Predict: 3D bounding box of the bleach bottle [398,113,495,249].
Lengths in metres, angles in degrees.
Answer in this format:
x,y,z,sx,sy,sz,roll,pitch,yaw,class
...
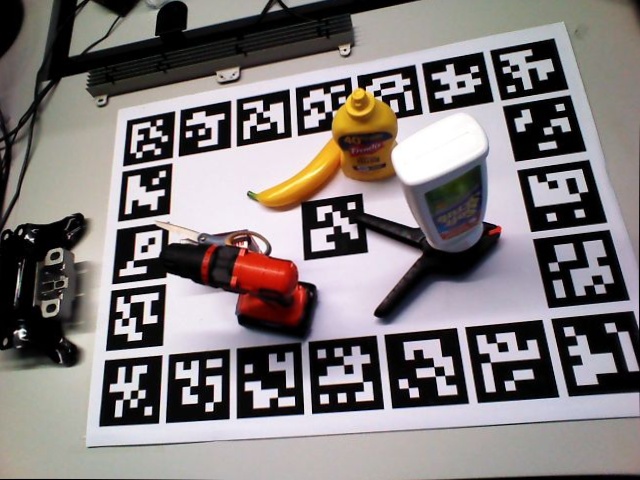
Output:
x,y,z,sx,sy,sz,roll,pitch,yaw,class
0.170,-0.049,0.638,0.103,0.250,0.067,-27,61,9,bleach bottle

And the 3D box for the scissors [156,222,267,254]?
x,y,z,sx,sy,sz,roll,pitch,yaw,class
-0.176,-0.003,0.734,0.203,0.016,0.087,18,79,14,scissors

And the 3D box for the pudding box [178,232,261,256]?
x,y,z,sx,sy,sz,roll,pitch,yaw,class
-0.154,0.025,0.789,0.114,0.090,0.038,-3,62,11,pudding box

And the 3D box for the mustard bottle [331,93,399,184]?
x,y,z,sx,sy,sz,roll,pitch,yaw,class
0.067,-0.148,0.752,0.096,0.191,0.058,7,70,14,mustard bottle

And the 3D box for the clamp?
x,y,z,sx,sy,sz,roll,pitch,yaw,class
0.159,0.007,0.734,0.203,0.037,0.164,-13,69,7,clamp

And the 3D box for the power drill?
x,y,z,sx,sy,sz,roll,pitch,yaw,class
-0.108,0.068,0.677,0.185,0.187,0.057,5,63,18,power drill

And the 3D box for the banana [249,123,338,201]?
x,y,z,sx,sy,sz,roll,pitch,yaw,class
-0.026,-0.125,0.837,0.197,0.039,0.074,-44,49,-5,banana
